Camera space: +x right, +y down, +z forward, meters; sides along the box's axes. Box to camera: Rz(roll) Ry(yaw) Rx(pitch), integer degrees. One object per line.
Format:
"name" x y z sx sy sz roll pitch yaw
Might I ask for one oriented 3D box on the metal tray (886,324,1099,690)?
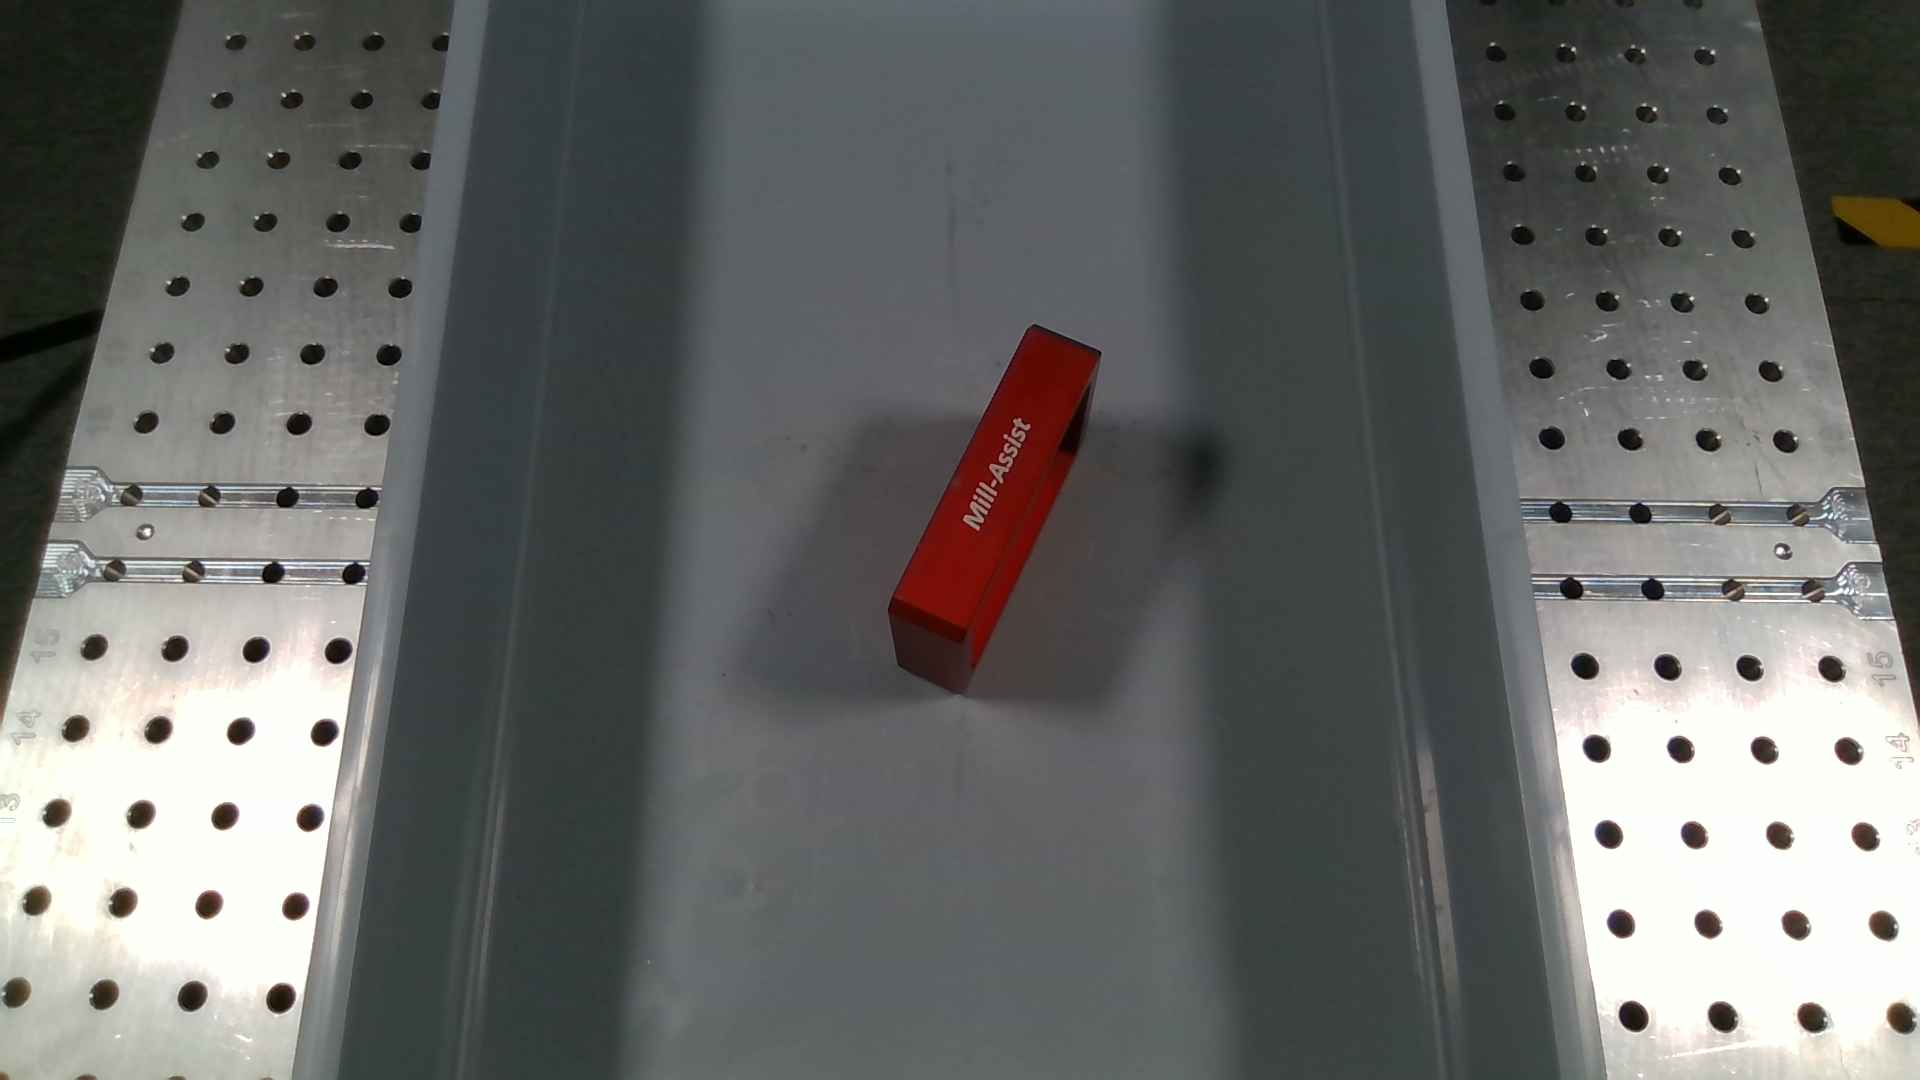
"metal tray" 0.014 -0.011 0.554 0.030 0.090 0.130 24 72 8
